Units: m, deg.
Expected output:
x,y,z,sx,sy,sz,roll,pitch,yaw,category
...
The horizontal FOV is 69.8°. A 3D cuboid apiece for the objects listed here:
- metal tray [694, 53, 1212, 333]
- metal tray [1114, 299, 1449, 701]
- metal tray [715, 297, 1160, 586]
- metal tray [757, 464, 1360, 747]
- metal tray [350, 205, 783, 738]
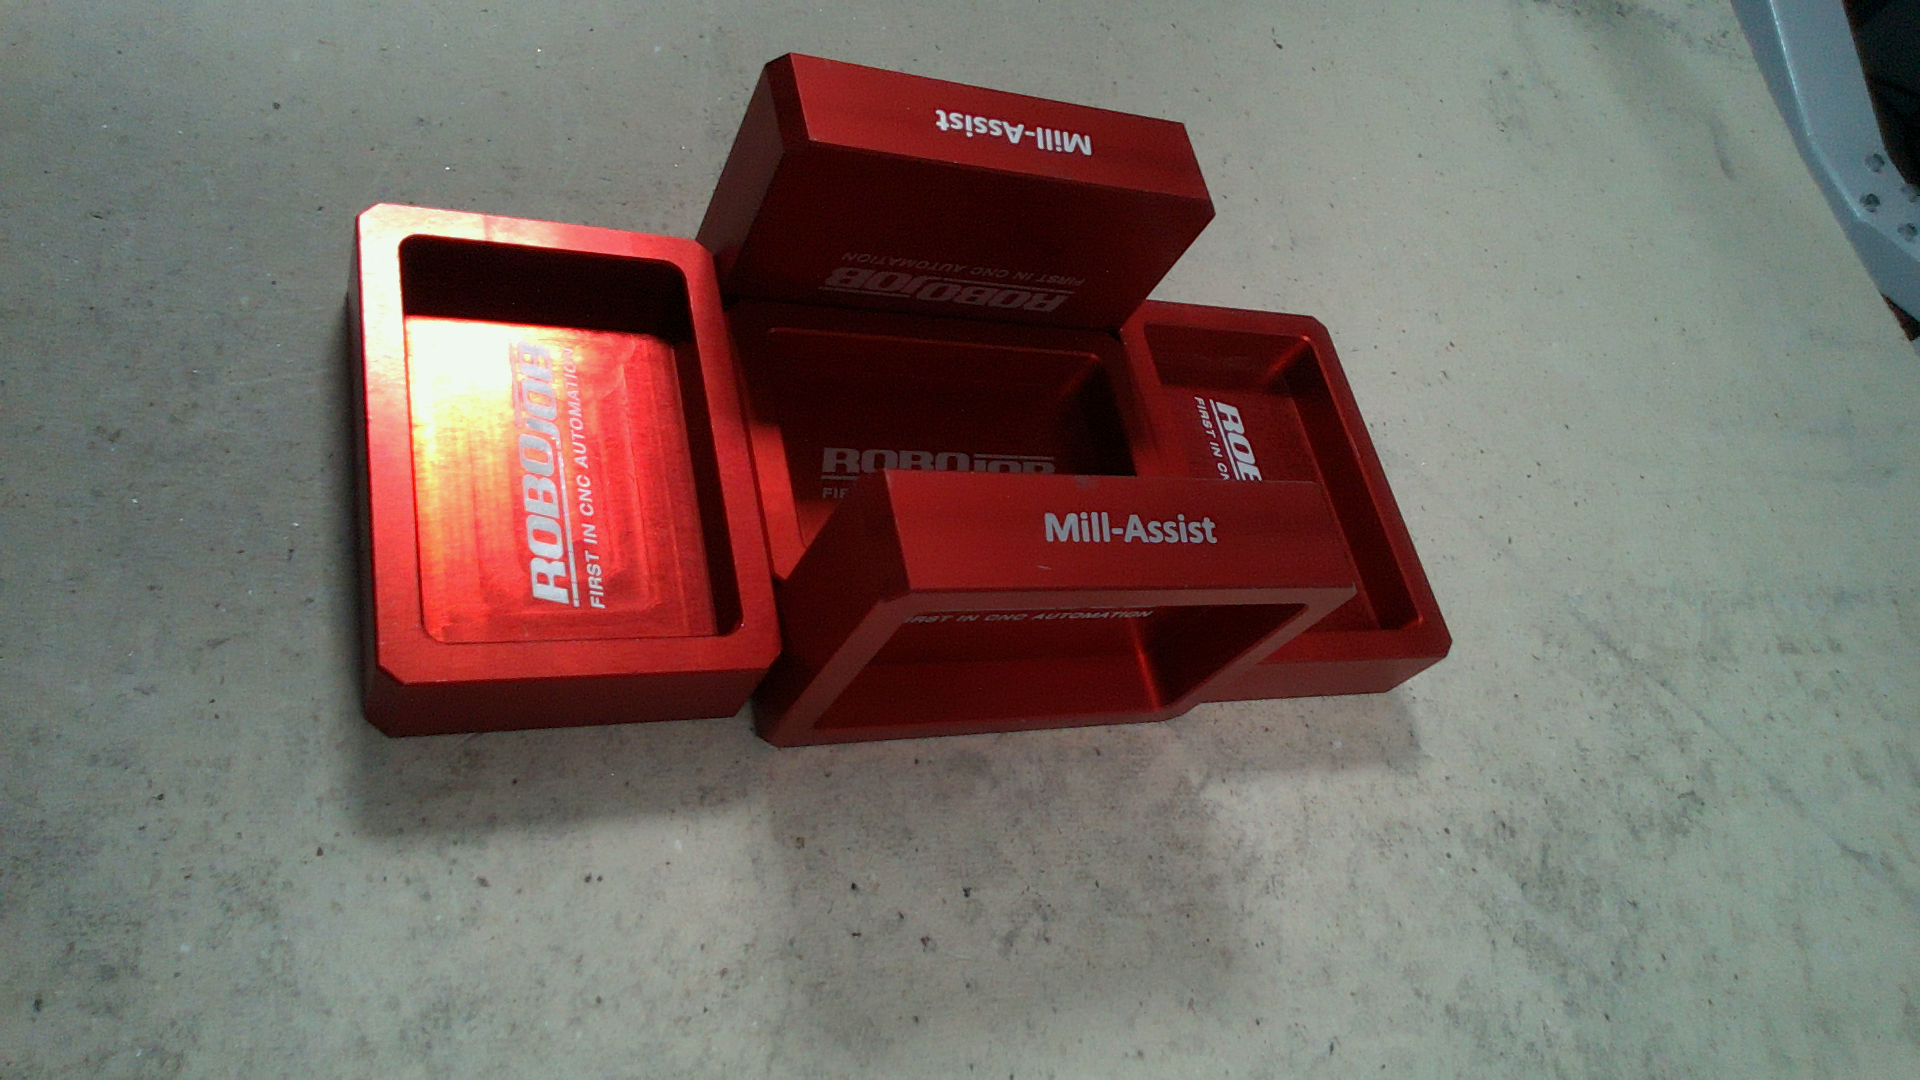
x,y,z,sx,sy,sz,roll,pitch,yaw,category
-0.005,-0.087,0.399,0.130,0.090,0.030,0,61,-28,metal tray
0.095,-0.015,0.447,0.090,0.030,0.130,1,61,-28,metal tray
-0.004,-0.020,0.396,0.130,0.030,0.090,1,61,-28,metal tray
0.022,0.018,0.347,0.130,0.090,0.030,0,61,-28,metal tray
-0.101,-0.019,0.344,0.090,0.030,0.130,1,61,-28,metal tray
